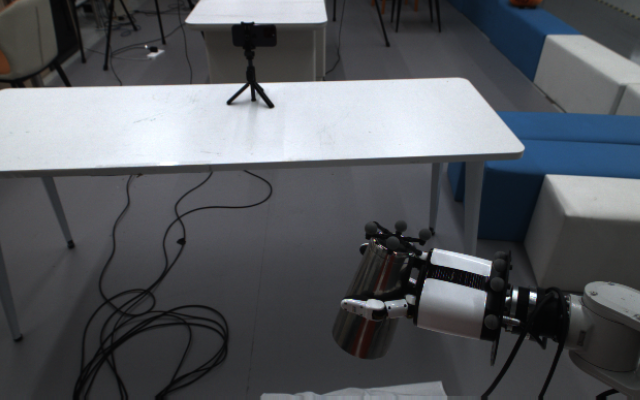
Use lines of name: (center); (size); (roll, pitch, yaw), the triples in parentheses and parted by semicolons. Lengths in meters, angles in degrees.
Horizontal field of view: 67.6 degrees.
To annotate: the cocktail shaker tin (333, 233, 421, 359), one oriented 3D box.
cocktail shaker tin: (0.084, 0.132, 0.701); (0.093, 0.170, 0.093); (12, 24, -5)
